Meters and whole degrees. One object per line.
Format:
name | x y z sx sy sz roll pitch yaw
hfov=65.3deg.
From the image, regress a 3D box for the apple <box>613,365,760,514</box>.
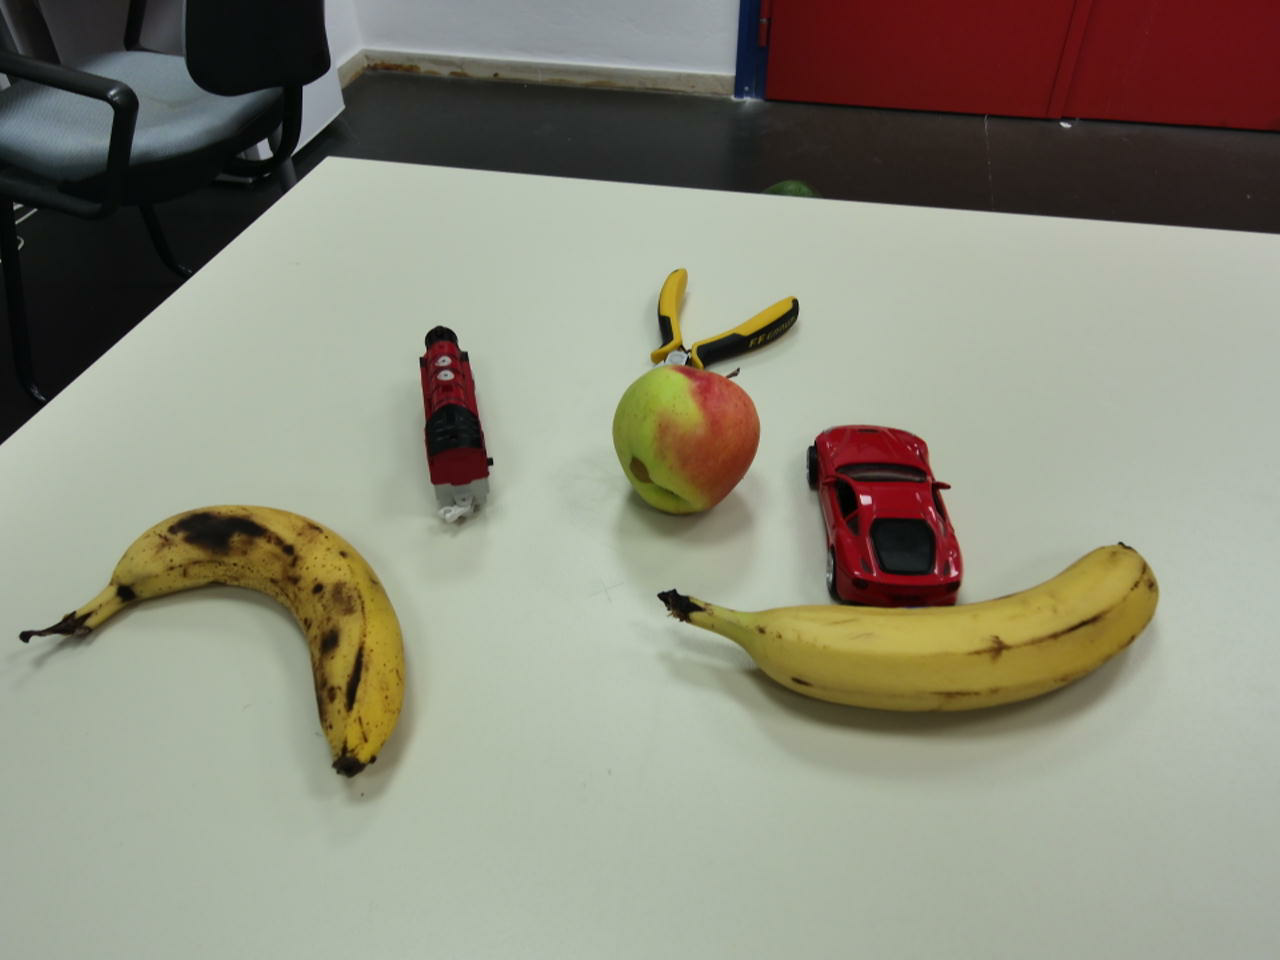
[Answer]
apple | 0.024 -0.021 0.508 0.075 0.074 0.075 -4 39 -5
